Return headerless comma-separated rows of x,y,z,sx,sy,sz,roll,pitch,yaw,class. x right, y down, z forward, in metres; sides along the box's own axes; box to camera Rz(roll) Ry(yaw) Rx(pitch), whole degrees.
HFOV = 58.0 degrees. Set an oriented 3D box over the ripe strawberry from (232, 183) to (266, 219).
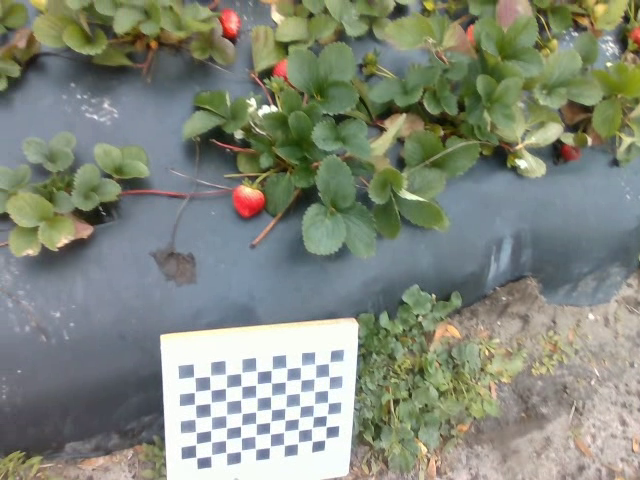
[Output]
-0.128,-0.066,1.013,0.061,0.065,0.049,7,8,-22,ripe strawberry
